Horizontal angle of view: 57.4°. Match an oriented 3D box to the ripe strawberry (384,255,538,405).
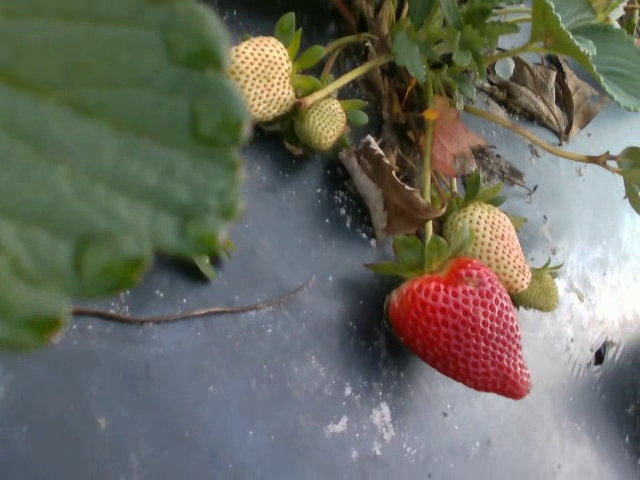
[{"bbox_3d":[0.053,0.031,0.201,0.050,0.059,0.034,-24,-21,-44],"label":"ripe strawberry"}]
